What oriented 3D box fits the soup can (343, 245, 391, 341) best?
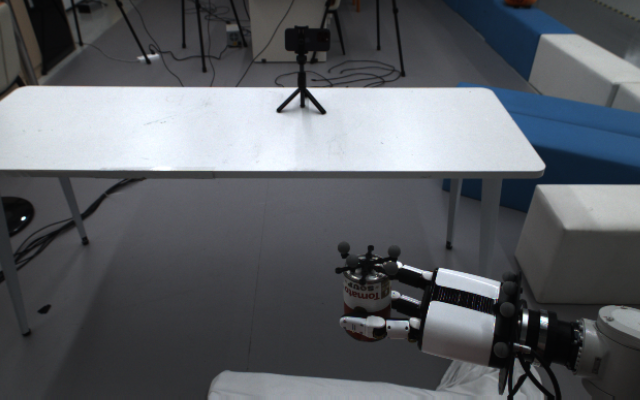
[{"bbox_3d":[0.069,0.134,0.670,0.067,0.101,0.067,-3,27,2],"label":"soup can"}]
